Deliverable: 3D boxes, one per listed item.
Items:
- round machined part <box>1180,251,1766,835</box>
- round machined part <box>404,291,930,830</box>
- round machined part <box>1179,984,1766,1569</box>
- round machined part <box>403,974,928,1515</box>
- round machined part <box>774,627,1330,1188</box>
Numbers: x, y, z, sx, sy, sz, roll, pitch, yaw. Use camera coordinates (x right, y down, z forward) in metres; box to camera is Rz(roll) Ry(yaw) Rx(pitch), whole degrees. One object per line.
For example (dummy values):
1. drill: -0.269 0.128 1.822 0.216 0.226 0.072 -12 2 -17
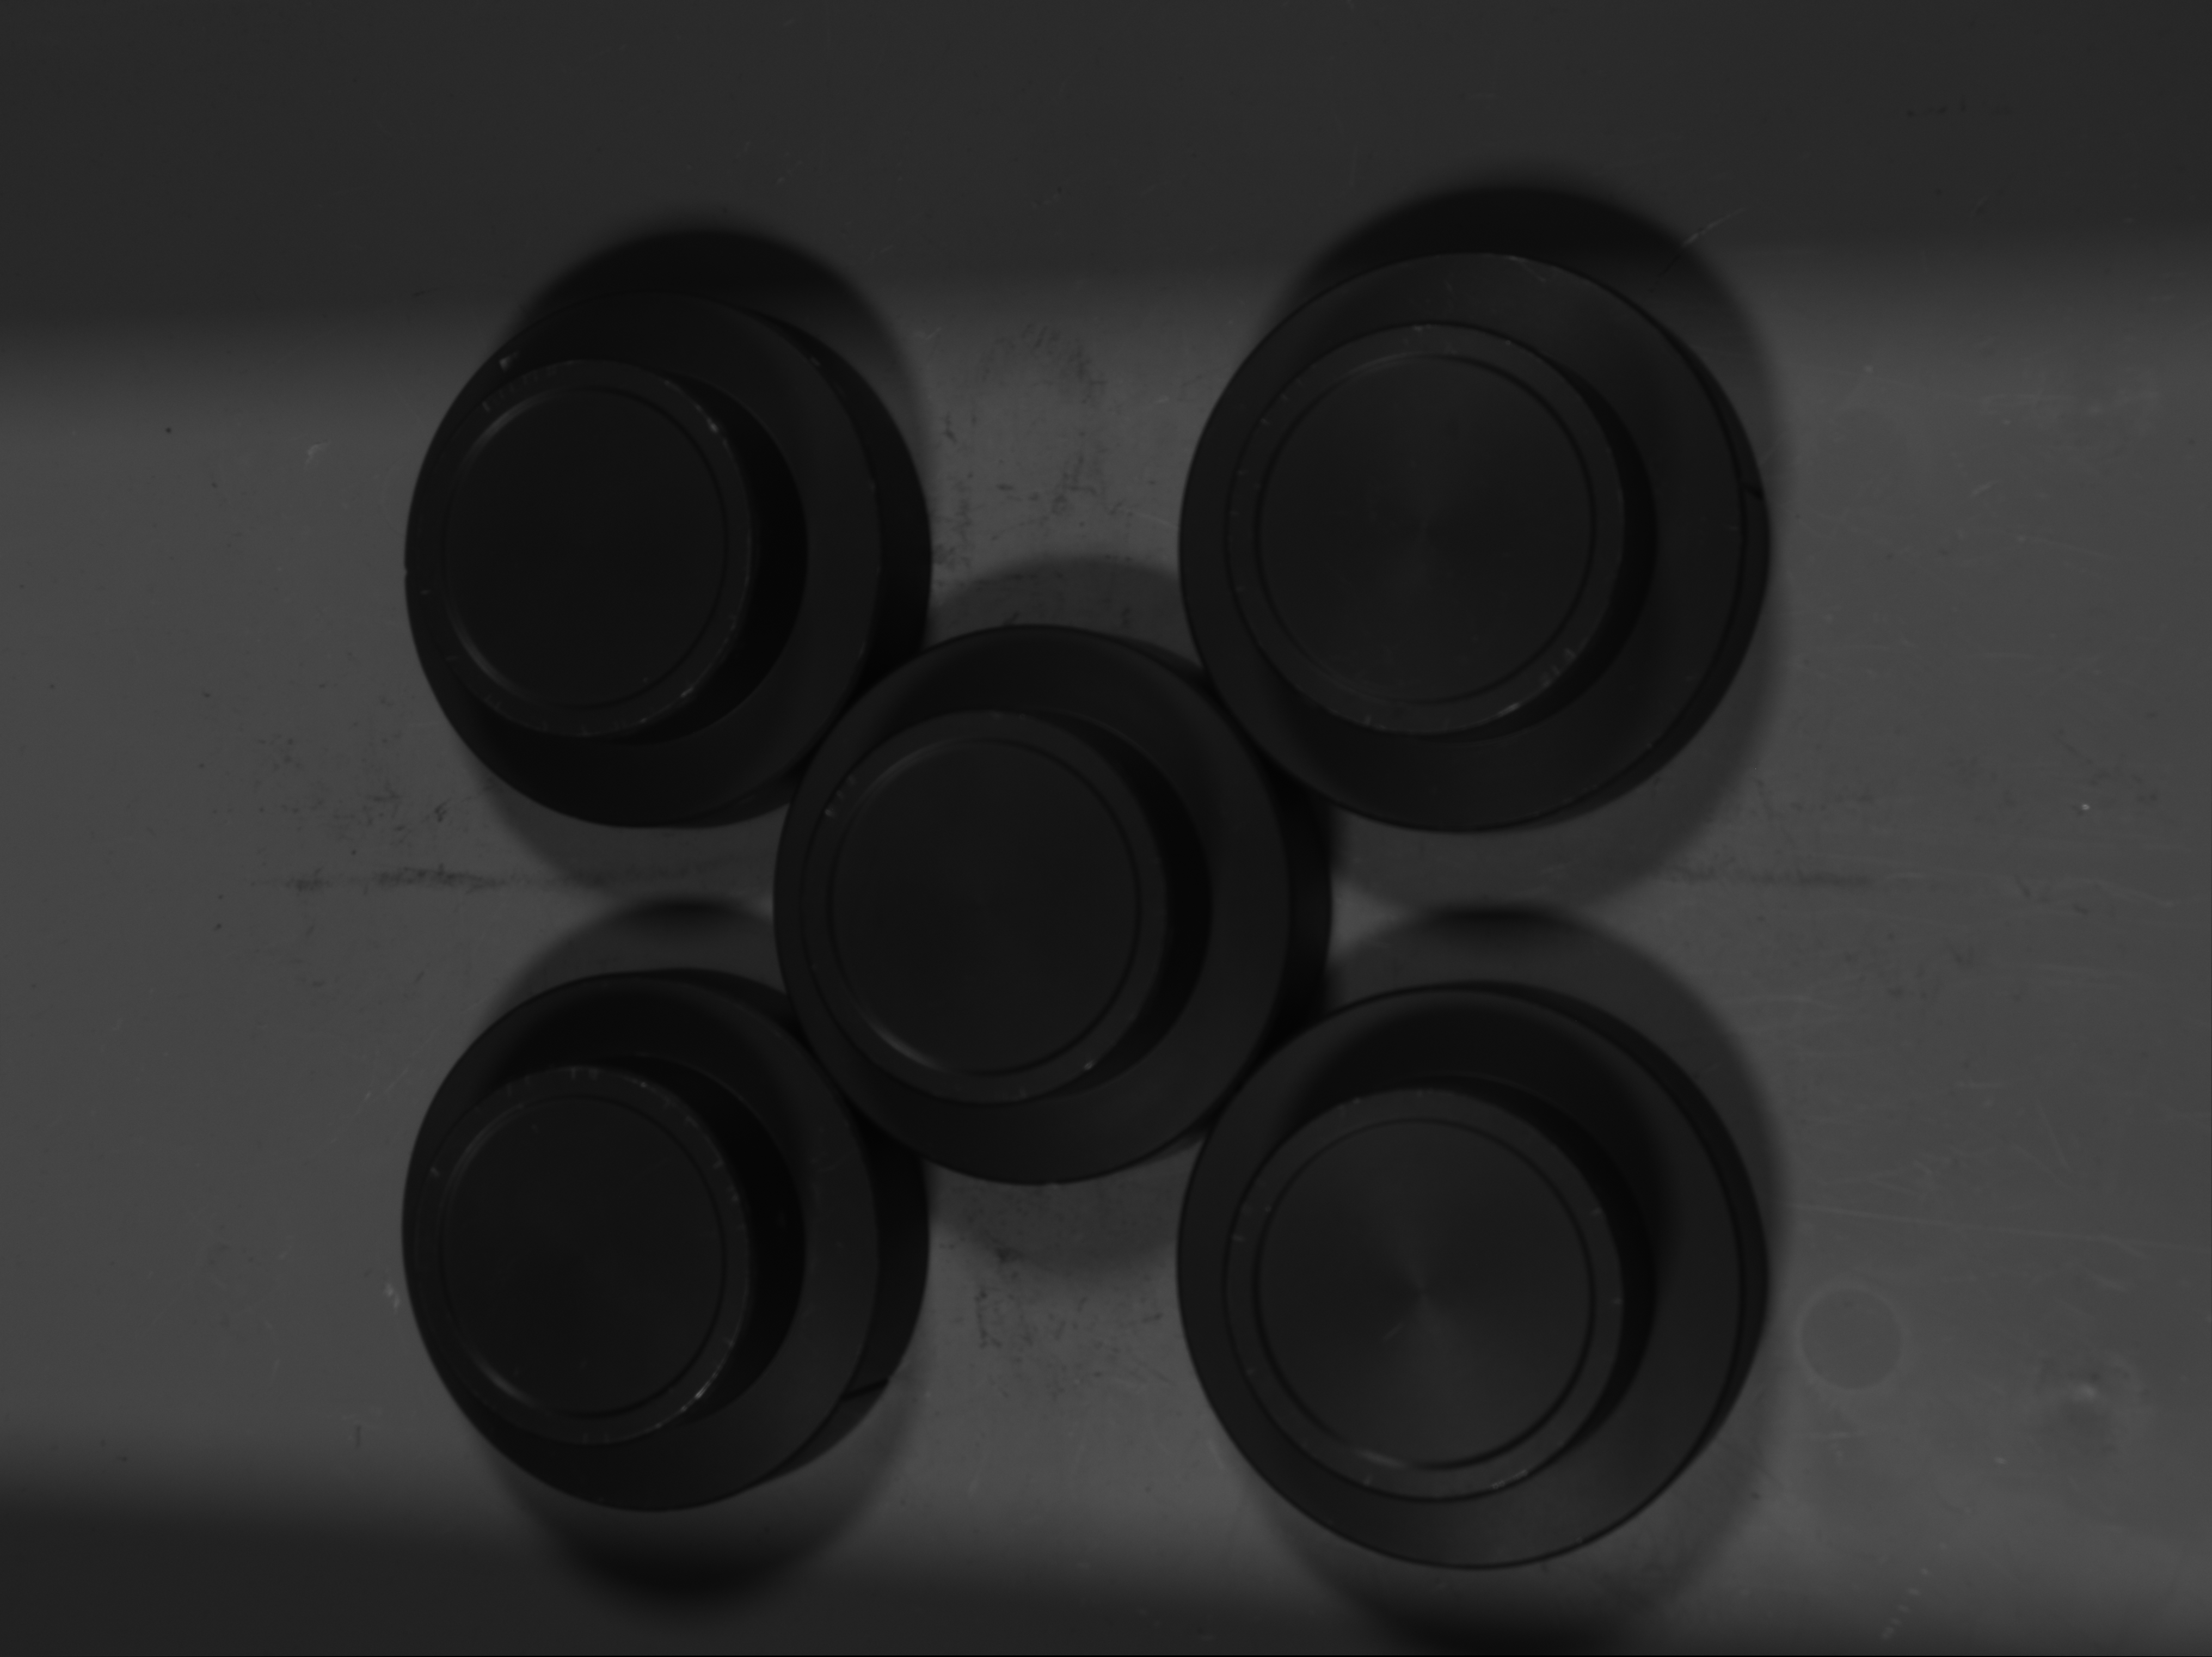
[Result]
1. round machined part: 0.059 -0.048 0.614 0.098 0.042 0.098 0 90 20
2. round machined part: -0.085 -0.049 0.665 0.098 0.042 0.098 0 90 20
3. round machined part: 0.058 0.075 0.614 0.098 0.042 0.098 0 90 20
4. round machined part: -0.085 0.076 0.665 0.098 0.042 0.098 0 90 20
5. round machined part: -0.014 0.014 0.638 0.098 0.042 0.098 0 90 20
